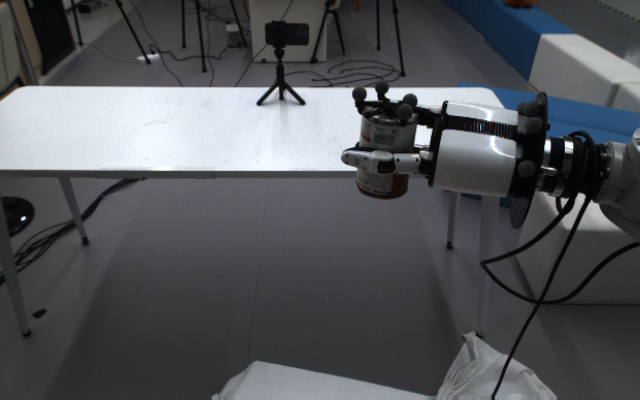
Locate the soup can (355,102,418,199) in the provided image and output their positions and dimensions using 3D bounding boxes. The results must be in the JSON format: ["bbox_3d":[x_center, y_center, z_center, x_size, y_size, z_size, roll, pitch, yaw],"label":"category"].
[{"bbox_3d":[0.082,-0.061,0.597,0.067,0.101,0.067,2,32,-1],"label":"soup can"}]
